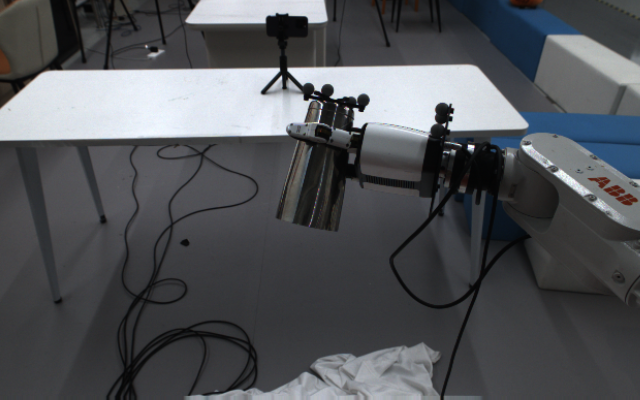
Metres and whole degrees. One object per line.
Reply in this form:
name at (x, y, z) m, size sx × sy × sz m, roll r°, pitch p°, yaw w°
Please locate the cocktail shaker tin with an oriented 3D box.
cocktail shaker tin at (0.002, -0.051, 0.687) m, size 0.093 × 0.170 × 0.093 m, roll 13°, pitch 1°, yaw 0°
